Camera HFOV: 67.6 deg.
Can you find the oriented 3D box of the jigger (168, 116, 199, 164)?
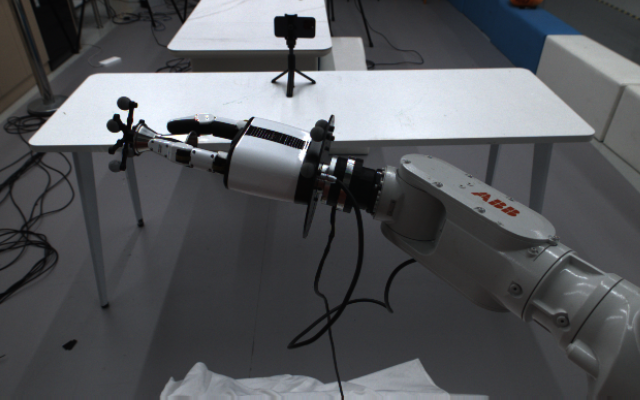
[{"bbox_3d":[-0.190,-0.074,0.619,0.071,0.043,0.043,11,35,2],"label":"jigger"}]
